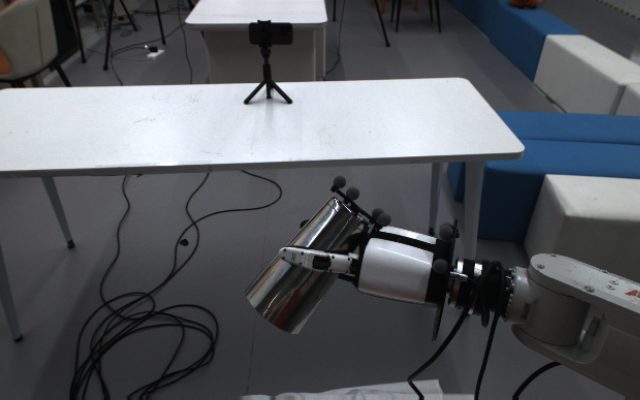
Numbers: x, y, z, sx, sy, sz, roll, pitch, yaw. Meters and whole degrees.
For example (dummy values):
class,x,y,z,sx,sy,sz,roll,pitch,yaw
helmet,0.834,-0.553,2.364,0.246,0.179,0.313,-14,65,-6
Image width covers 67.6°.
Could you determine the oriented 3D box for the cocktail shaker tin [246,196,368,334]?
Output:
class,x,y,z,sx,sy,sz,roll,pitch,yaw
cocktail shaker tin,-0.009,0.079,0.642,0.170,0.093,0.093,-50,46,4
